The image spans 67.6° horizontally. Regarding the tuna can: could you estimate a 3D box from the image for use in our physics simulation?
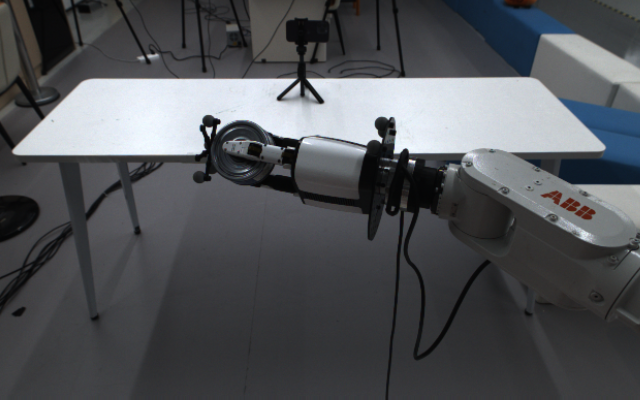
[{"bbox_3d":[-0.103,-0.065,0.660,0.085,0.085,0.034,10,-6,11],"label":"tuna can"}]
